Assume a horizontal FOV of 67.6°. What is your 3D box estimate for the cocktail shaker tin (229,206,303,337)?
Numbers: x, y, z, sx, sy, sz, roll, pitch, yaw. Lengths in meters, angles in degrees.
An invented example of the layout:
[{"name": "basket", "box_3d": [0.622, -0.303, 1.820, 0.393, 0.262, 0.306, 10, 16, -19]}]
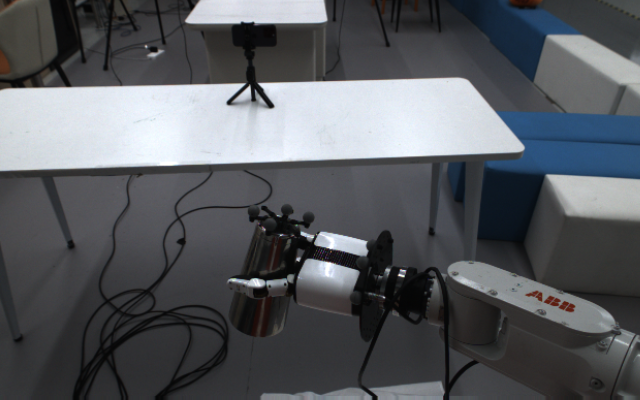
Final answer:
[{"name": "cocktail shaker tin", "box_3d": [-0.078, 0.110, 0.734, 0.093, 0.170, 0.093, 12, 24, -5]}]
